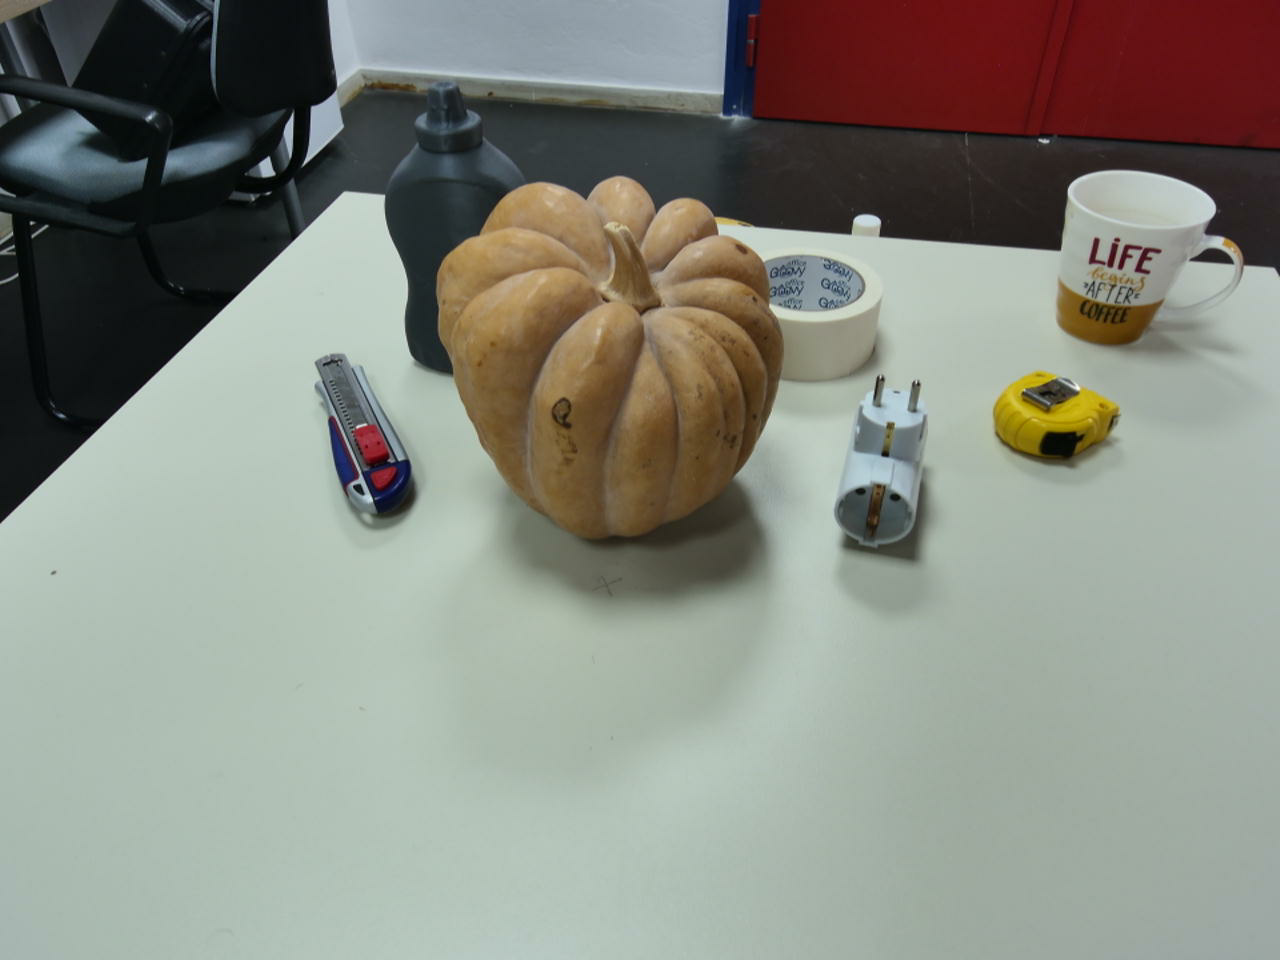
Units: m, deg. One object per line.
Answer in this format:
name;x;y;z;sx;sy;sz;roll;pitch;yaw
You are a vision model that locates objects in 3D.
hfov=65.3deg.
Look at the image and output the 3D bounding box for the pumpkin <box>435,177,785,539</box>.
pumpkin;-0.015;-0.066;0.556;0.199;0.177;0.198;0;39;0
